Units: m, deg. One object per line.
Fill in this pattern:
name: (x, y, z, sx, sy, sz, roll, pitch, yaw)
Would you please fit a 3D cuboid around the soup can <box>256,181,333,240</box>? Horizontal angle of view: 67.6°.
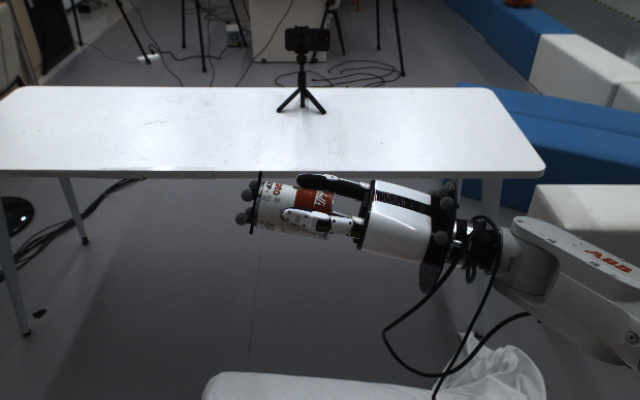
soup can: (-0.032, 0.015, 0.673, 0.101, 0.067, 0.067, 10, 35, 0)
